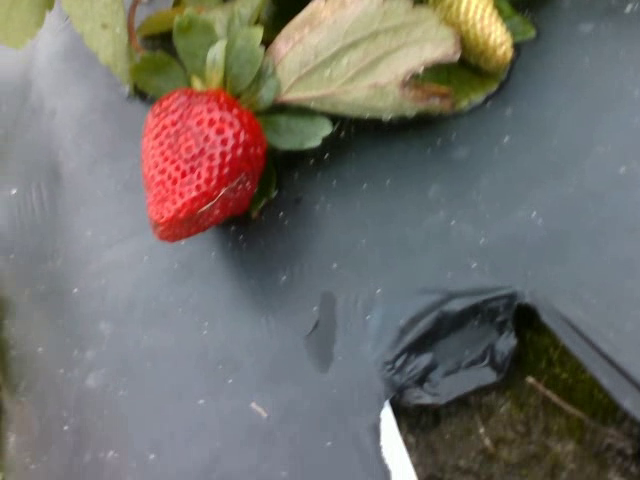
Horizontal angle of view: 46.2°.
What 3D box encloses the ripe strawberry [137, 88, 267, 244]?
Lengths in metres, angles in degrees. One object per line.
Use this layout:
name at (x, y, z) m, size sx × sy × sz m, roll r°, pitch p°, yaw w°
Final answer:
ripe strawberry at (-0.041, -0.019, 0.229) m, size 0.048 × 0.064 × 0.046 m, roll 23°, pitch -45°, yaw -2°
